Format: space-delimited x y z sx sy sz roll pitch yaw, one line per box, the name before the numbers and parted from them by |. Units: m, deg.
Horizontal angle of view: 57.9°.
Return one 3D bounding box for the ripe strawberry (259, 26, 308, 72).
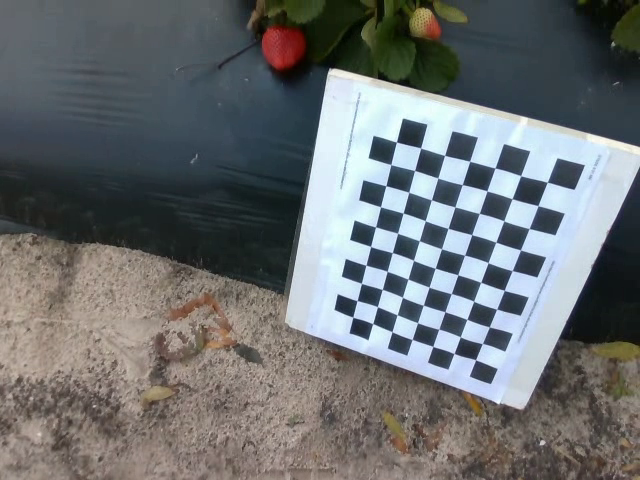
ripe strawberry | -0.033 -0.149 0.456 0.037 0.046 0.036 -25 -37 34
